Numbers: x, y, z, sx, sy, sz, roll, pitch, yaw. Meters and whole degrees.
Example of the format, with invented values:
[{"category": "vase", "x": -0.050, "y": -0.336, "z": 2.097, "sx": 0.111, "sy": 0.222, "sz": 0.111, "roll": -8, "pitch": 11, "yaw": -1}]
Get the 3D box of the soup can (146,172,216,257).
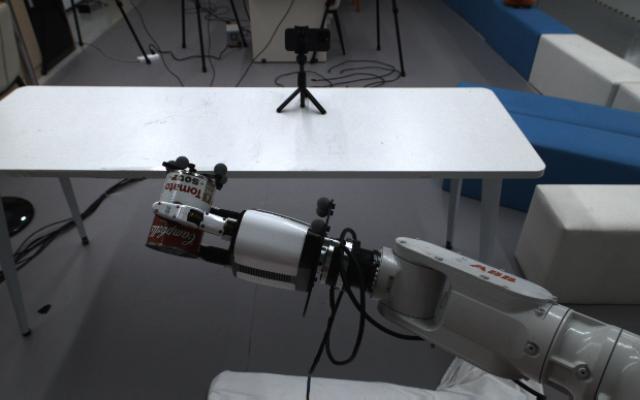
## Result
[{"category": "soup can", "x": -0.180, "y": 0.021, "z": 0.635, "sx": 0.067, "sy": 0.067, "sz": 0.101, "roll": 8, "pitch": 74, "yaw": 9}]
